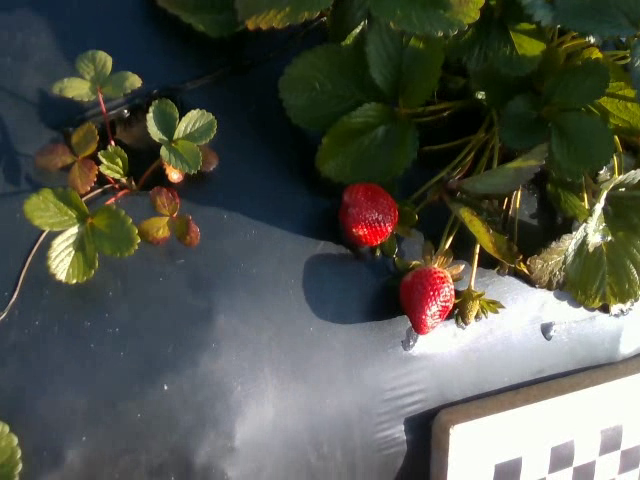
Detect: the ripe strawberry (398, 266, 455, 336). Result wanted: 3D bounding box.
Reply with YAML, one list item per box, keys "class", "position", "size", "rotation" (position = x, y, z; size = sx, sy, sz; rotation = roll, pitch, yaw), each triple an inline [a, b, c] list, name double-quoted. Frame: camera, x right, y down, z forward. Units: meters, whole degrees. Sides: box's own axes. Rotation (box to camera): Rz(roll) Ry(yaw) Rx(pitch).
- class: "ripe strawberry"
  position: [0.071, 0.041, 0.366]
  size: [0.038, 0.053, 0.043]
  rotation: [-26, -56, 38]

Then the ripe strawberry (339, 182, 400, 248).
- class: "ripe strawberry"
  position: [0.031, -0.017, 0.374]
  size: [0.039, 0.048, 0.054]
  rotation: [19, 8, 40]
